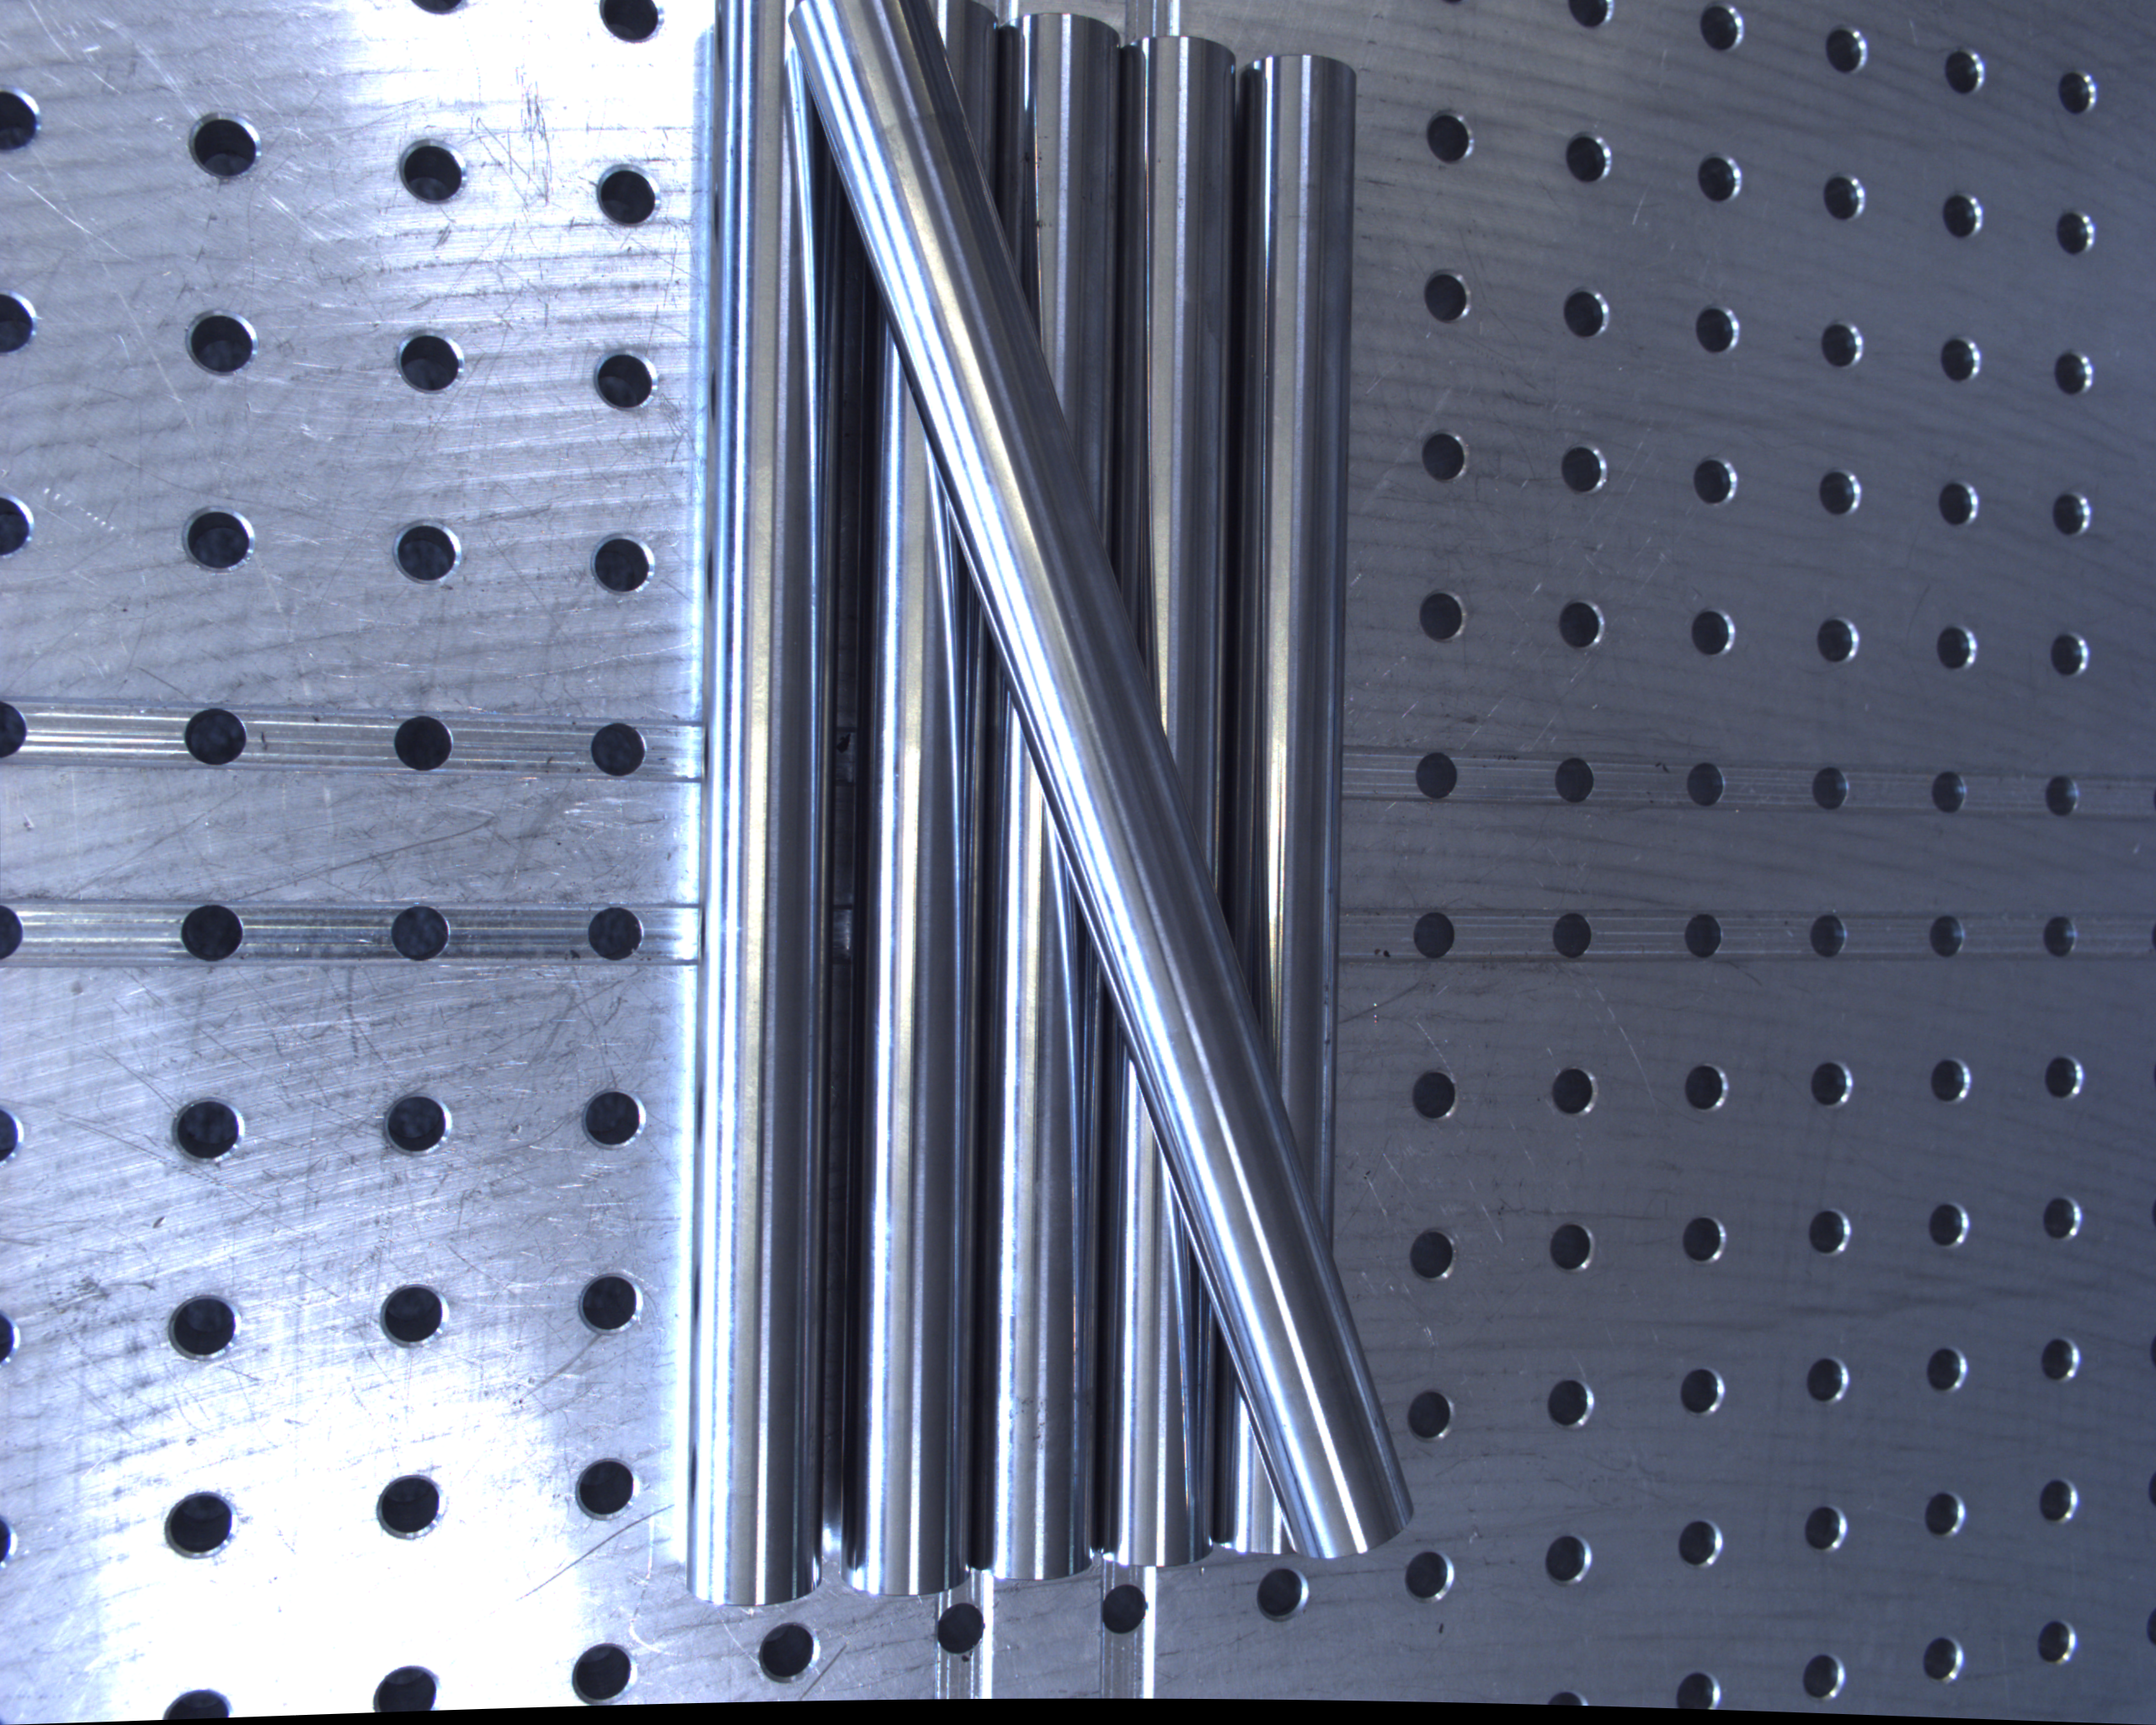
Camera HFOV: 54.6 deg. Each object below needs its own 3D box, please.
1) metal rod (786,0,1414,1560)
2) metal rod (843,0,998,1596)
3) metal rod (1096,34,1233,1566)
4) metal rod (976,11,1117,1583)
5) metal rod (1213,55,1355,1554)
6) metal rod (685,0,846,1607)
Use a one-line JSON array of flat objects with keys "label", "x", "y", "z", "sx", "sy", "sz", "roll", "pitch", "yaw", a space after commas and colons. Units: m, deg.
[{"label": "metal rod", "x": 0.007, "y": -0.012, "z": 0.388, "sx": 0.025, "sy": 0.025, "sz": 0.299, "roll": -20, "pitch": 97, "yaw": -19}, {"label": "metal rod", "x": -0.030, "y": -0.013, "z": 0.400, "sx": 0.025, "sy": 0.025, "sz": 0.298, "roll": 1, "pitch": 90, "yaw": -20}, {"label": "metal rod", "x": 0.016, "y": -0.012, "z": 0.419, "sx": 0.025, "sy": 0.025, "sz": 0.298, "roll": 1, "pitch": 90, "yaw": -20}, {"label": "metal rod", "x": -0.007, "y": -0.013, "z": 0.409, "sx": 0.025, "sy": 0.025, "sz": 0.298, "roll": 1, "pitch": 90, "yaw": -20}, {"label": "metal rod", "x": 0.041, "y": -0.012, "z": 0.428, "sx": 0.025, "sy": 0.025, "sz": 0.298, "roll": 1, "pitch": 90, "yaw": -20}, {"label": "metal rod", "x": -0.058, "y": -0.015, "z": 0.390, "sx": 0.025, "sy": 0.025, "sz": 0.298, "roll": 1, "pitch": 90, "yaw": -20}]
